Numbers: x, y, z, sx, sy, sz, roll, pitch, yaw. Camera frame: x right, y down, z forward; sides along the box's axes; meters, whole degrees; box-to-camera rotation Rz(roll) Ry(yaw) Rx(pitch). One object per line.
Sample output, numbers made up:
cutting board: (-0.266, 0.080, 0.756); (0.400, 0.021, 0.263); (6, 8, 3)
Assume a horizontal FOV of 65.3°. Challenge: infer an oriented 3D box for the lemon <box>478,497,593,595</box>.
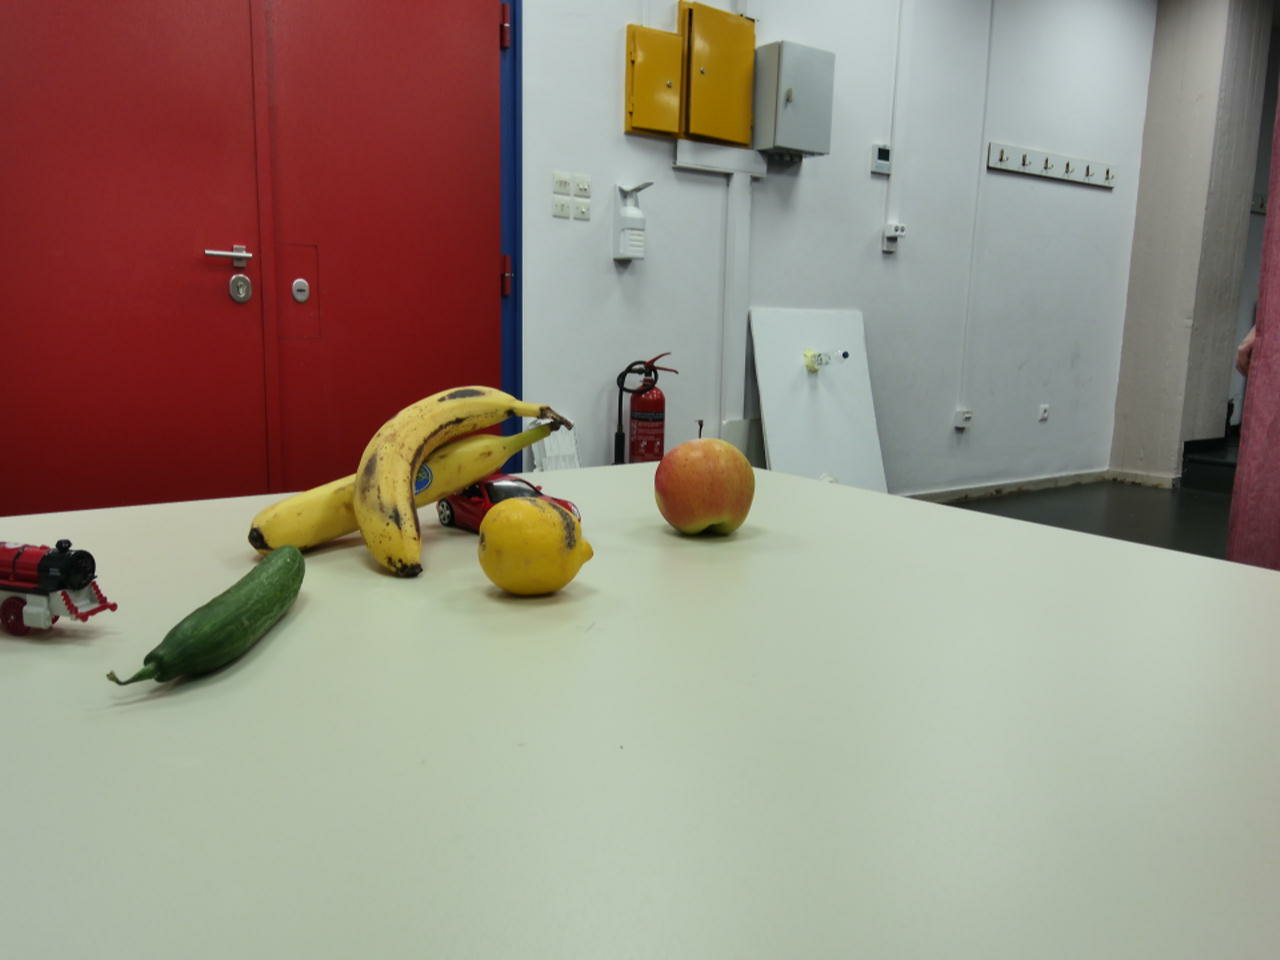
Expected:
lemon: (-0.063, 0.038, 0.577); (0.061, 0.056, 0.058); (-7, 11, -43)
